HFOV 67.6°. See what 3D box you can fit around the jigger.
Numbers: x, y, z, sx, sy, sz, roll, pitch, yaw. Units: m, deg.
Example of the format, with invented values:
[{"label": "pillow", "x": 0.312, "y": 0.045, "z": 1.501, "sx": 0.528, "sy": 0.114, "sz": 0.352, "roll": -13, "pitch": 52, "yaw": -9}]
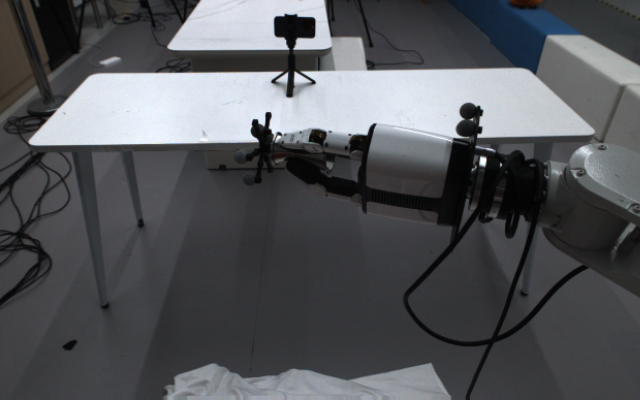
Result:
[{"label": "jigger", "x": -0.013, "y": -0.061, "z": 0.569, "sx": 0.071, "sy": 0.043, "sz": 0.043, "roll": 8, "pitch": 35, "yaw": 15}]
